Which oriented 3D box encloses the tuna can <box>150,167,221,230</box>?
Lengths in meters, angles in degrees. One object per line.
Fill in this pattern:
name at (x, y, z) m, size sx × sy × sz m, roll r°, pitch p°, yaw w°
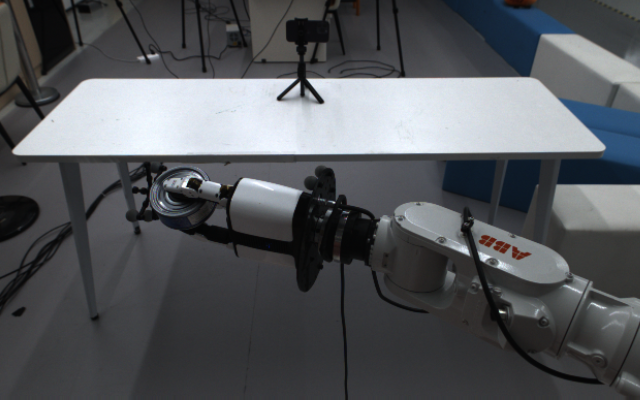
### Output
tuna can at (-0.183, -0.001, 0.653) m, size 0.085 × 0.034 × 0.085 m, roll -2°, pitch 59°, yaw 3°
